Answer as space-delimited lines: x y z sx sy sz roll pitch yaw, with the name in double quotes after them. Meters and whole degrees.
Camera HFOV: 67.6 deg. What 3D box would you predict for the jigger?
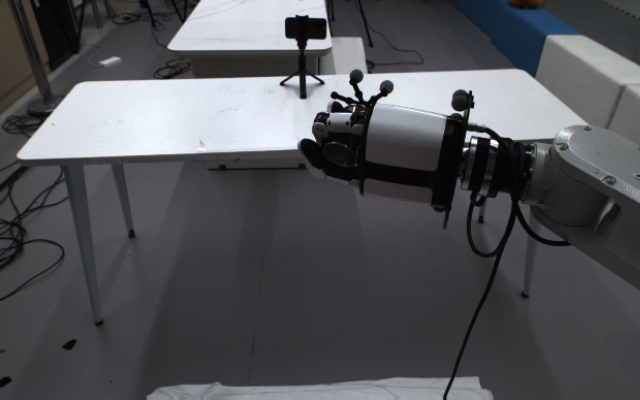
0.037 -0.082 0.589 0.043 0.043 0.071 15 58 18 "jigger"
